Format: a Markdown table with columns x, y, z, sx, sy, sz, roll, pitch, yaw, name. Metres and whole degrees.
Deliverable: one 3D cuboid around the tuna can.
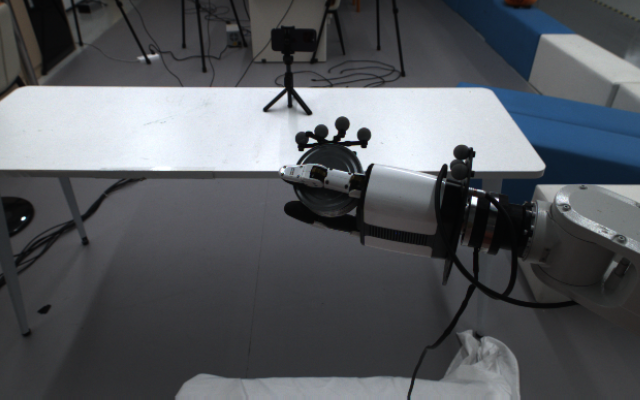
| x | y | z | sx | sy | sz | roll | pitch | yaw | name |
| --- | --- | --- | --- | --- | --- | --- | --- | --- | --- |
| 0.012 | -0.024 | 0.587 | 0.085 | 0.034 | 0.085 | -5 | 70 | 14 | tuna can |
